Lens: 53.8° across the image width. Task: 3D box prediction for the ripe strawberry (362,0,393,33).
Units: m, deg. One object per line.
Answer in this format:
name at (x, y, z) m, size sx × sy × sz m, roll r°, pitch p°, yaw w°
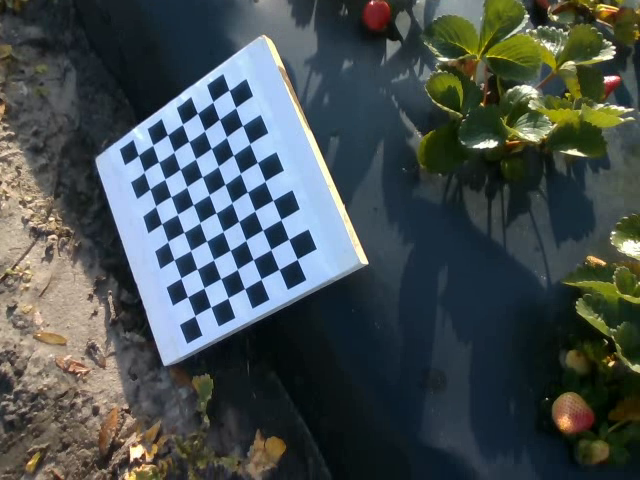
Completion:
ripe strawberry at (0.056, -0.236, 0.671) m, size 0.030 × 0.045 × 0.033 m, roll 1°, pitch -36°, yaw 30°
